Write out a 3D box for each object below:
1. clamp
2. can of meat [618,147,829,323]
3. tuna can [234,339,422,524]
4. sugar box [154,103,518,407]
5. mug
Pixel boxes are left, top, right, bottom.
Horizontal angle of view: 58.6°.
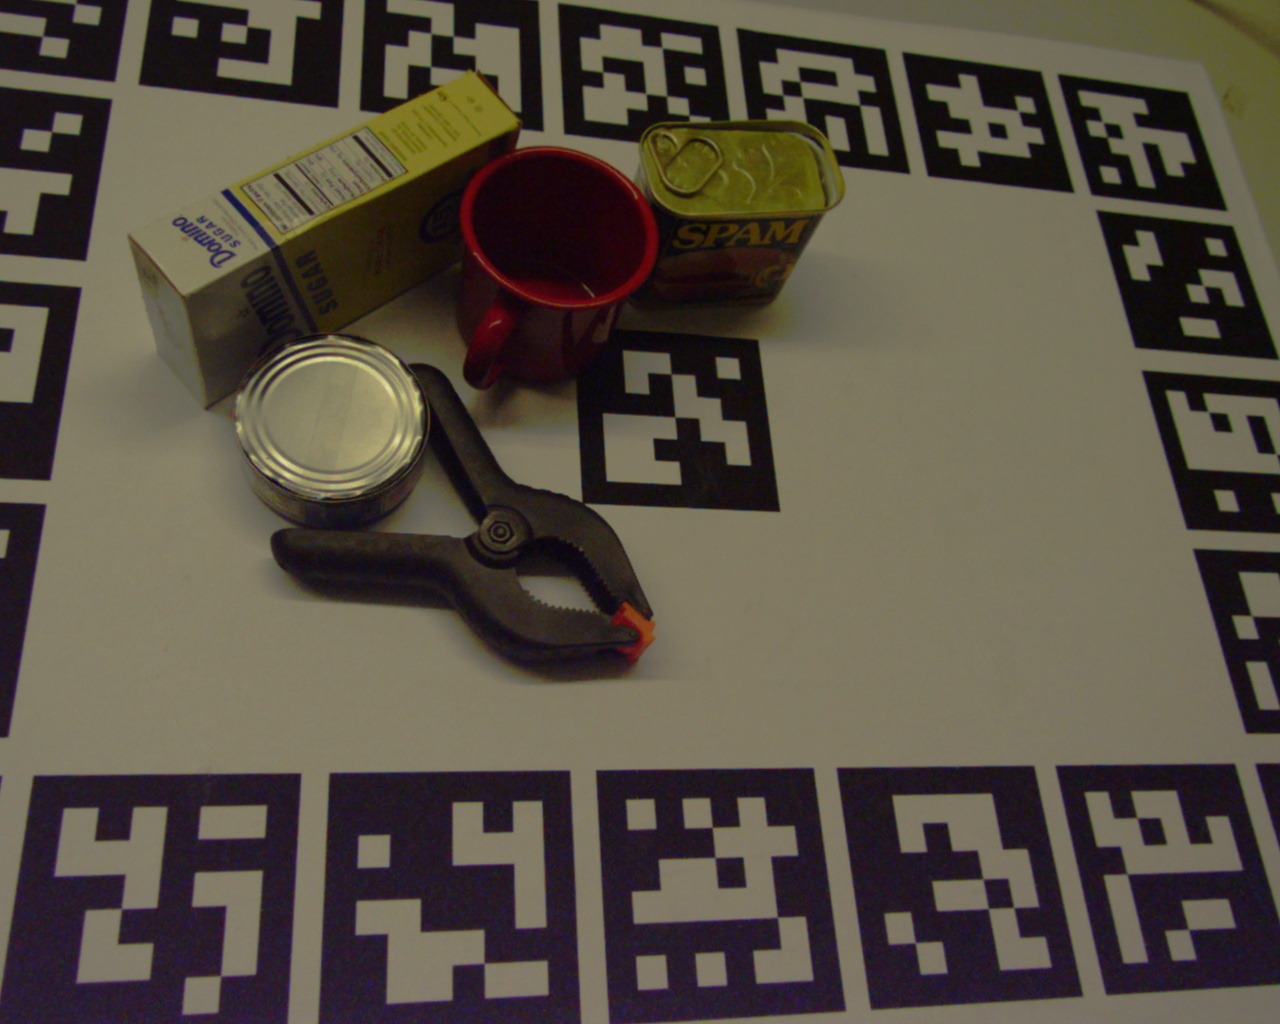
[{"bbox_3d":[-0.073,0.019,0.549,0.165,0.037,0.121,36,59,-2],"label":"clamp"},{"bbox_3d":[0.038,-0.149,0.624,0.101,0.084,0.058,-5,67,-18],"label":"can of meat"},{"bbox_3d":[-0.149,-0.038,0.549,0.085,0.034,0.086,5,68,-12],"label":"tuna can"},{"bbox_3d":[-0.145,-0.127,0.563,0.175,0.093,0.045,-36,79,-26],"label":"sugar box"},{"bbox_3d":[-0.054,-0.110,0.575,0.093,0.082,0.117,26,65,-3],"label":"mug"}]
